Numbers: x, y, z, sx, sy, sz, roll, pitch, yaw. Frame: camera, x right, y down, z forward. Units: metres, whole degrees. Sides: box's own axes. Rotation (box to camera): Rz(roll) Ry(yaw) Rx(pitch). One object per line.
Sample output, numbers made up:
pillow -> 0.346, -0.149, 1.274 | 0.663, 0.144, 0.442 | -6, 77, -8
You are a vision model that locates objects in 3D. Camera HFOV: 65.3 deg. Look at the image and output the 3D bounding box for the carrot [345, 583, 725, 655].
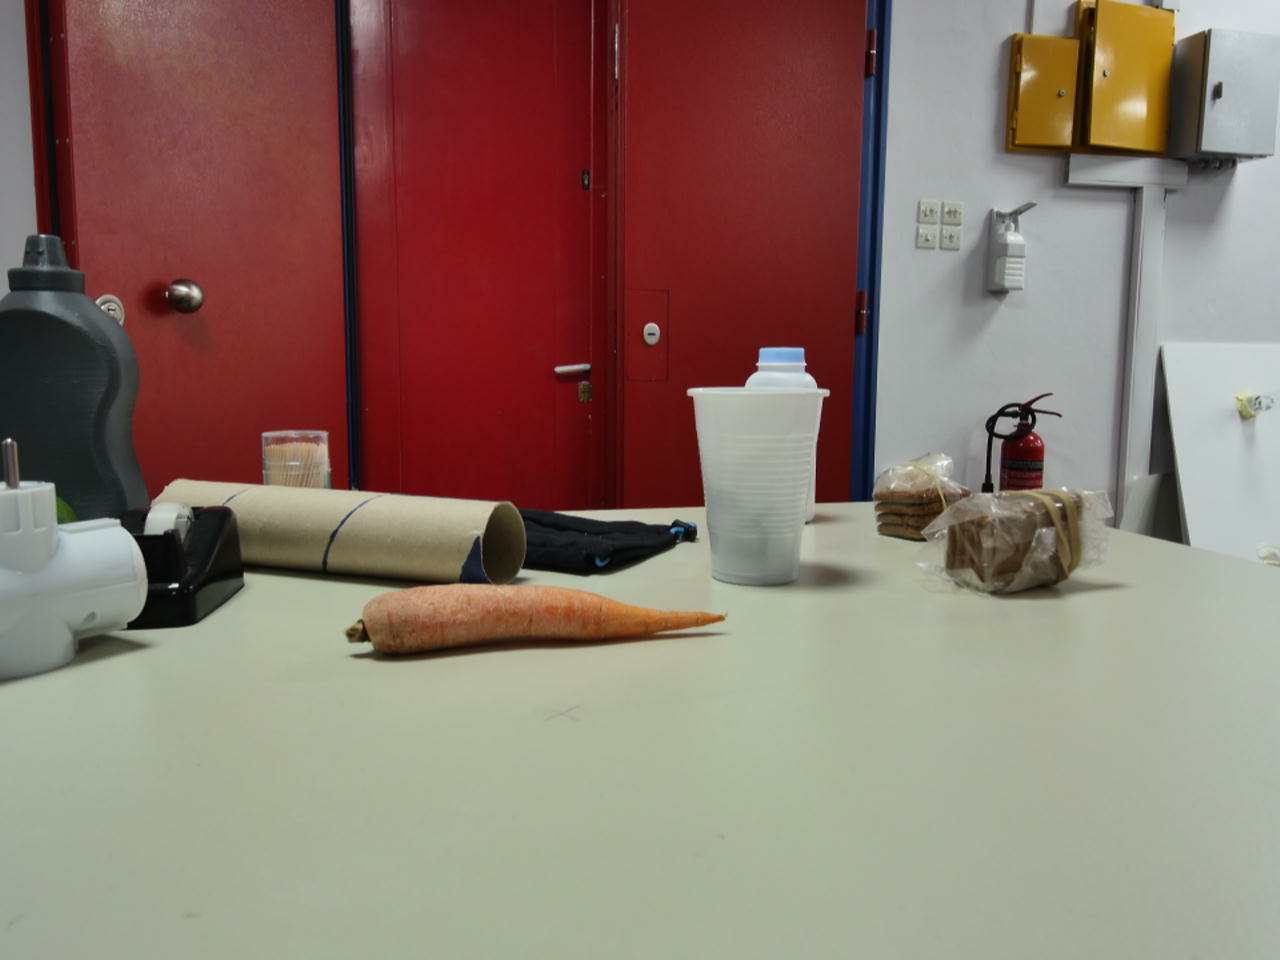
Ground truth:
carrot -> -0.044, 0.058, 0.438 | 0.163, 0.029, 0.031 | -1, 5, -13
